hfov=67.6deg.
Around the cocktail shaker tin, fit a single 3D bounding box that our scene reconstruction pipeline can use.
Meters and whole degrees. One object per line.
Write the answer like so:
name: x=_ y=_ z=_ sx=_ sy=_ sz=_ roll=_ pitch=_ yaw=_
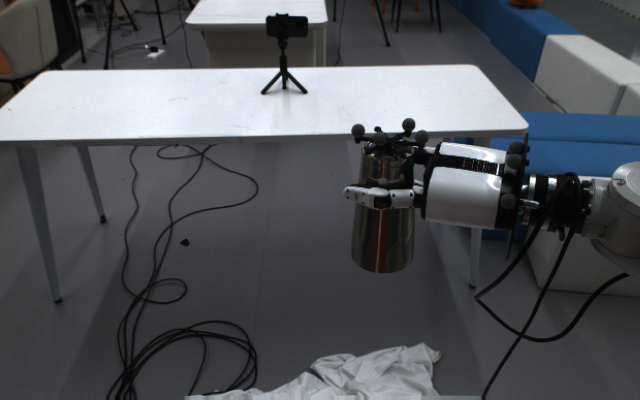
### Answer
cocktail shaker tin: x=0.093 y=0.002 z=0.664 sx=0.093 sy=0.170 sz=0.093 roll=-1 pitch=32 yaw=1
